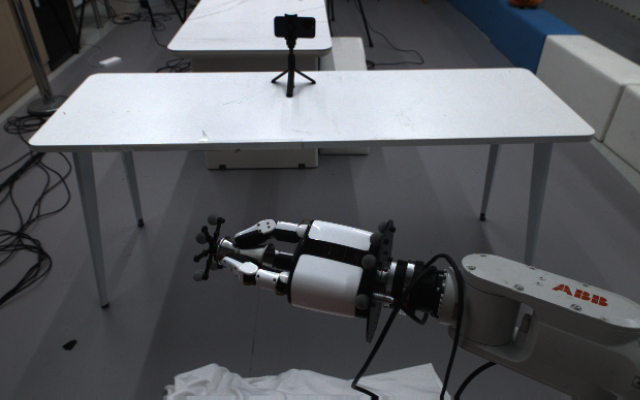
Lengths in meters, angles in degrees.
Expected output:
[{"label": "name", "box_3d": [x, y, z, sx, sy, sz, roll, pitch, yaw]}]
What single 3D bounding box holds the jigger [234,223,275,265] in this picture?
[{"label": "jigger", "box_3d": [-0.095, 0.072, 0.658, 0.071, 0.043, 0.043, 8, 35, 17]}]
